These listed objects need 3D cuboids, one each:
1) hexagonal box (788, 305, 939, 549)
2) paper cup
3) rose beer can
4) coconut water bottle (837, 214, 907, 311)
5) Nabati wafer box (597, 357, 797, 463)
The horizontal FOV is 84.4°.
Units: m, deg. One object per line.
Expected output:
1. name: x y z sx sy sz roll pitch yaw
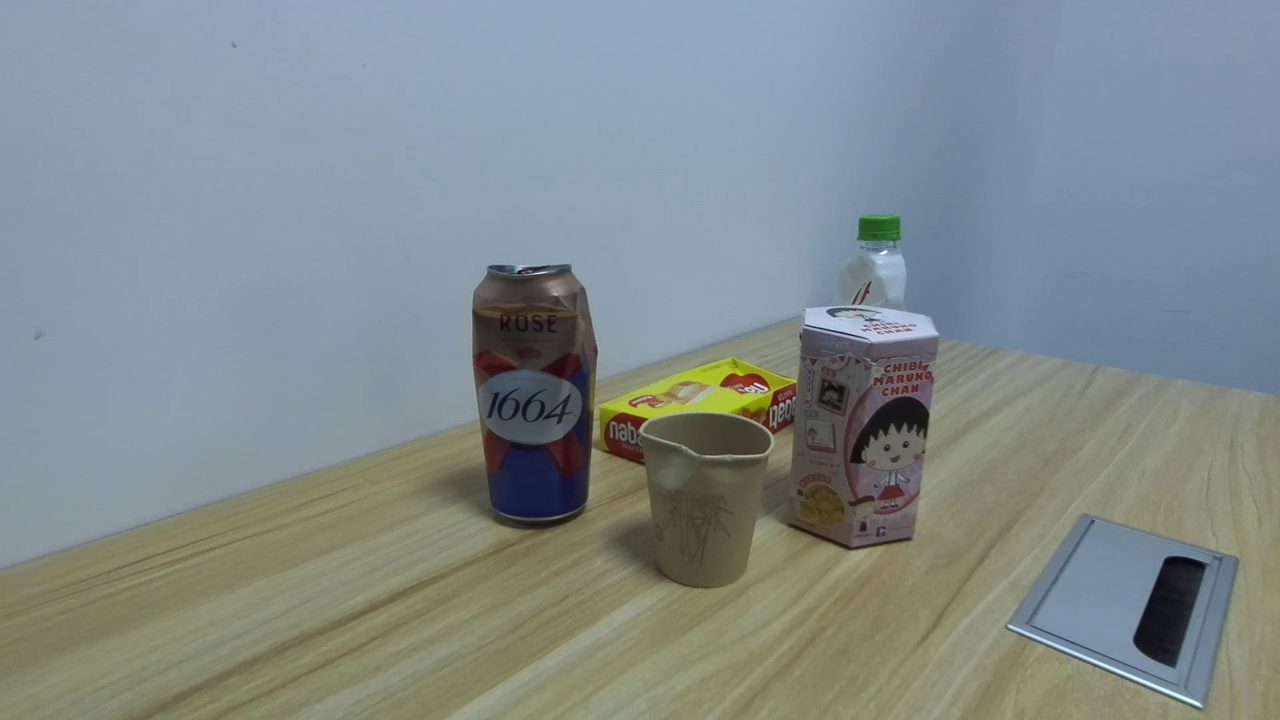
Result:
1. hexagonal box: 0.140 0.040 0.450 0.091 0.136 0.083 -5 18 -17
2. paper cup: 0.037 0.080 0.407 0.073 0.081 0.068 -2 16 -11
3. rose beer can: -0.067 0.021 0.465 0.075 0.167 0.065 4 15 19
4. coconut water bottle: 0.180 -0.017 0.555 0.067 0.187 0.067 2 10 0
5. Nabati wafer box: 0.067 0.040 0.617 0.096 0.042 0.204 9 19 40
